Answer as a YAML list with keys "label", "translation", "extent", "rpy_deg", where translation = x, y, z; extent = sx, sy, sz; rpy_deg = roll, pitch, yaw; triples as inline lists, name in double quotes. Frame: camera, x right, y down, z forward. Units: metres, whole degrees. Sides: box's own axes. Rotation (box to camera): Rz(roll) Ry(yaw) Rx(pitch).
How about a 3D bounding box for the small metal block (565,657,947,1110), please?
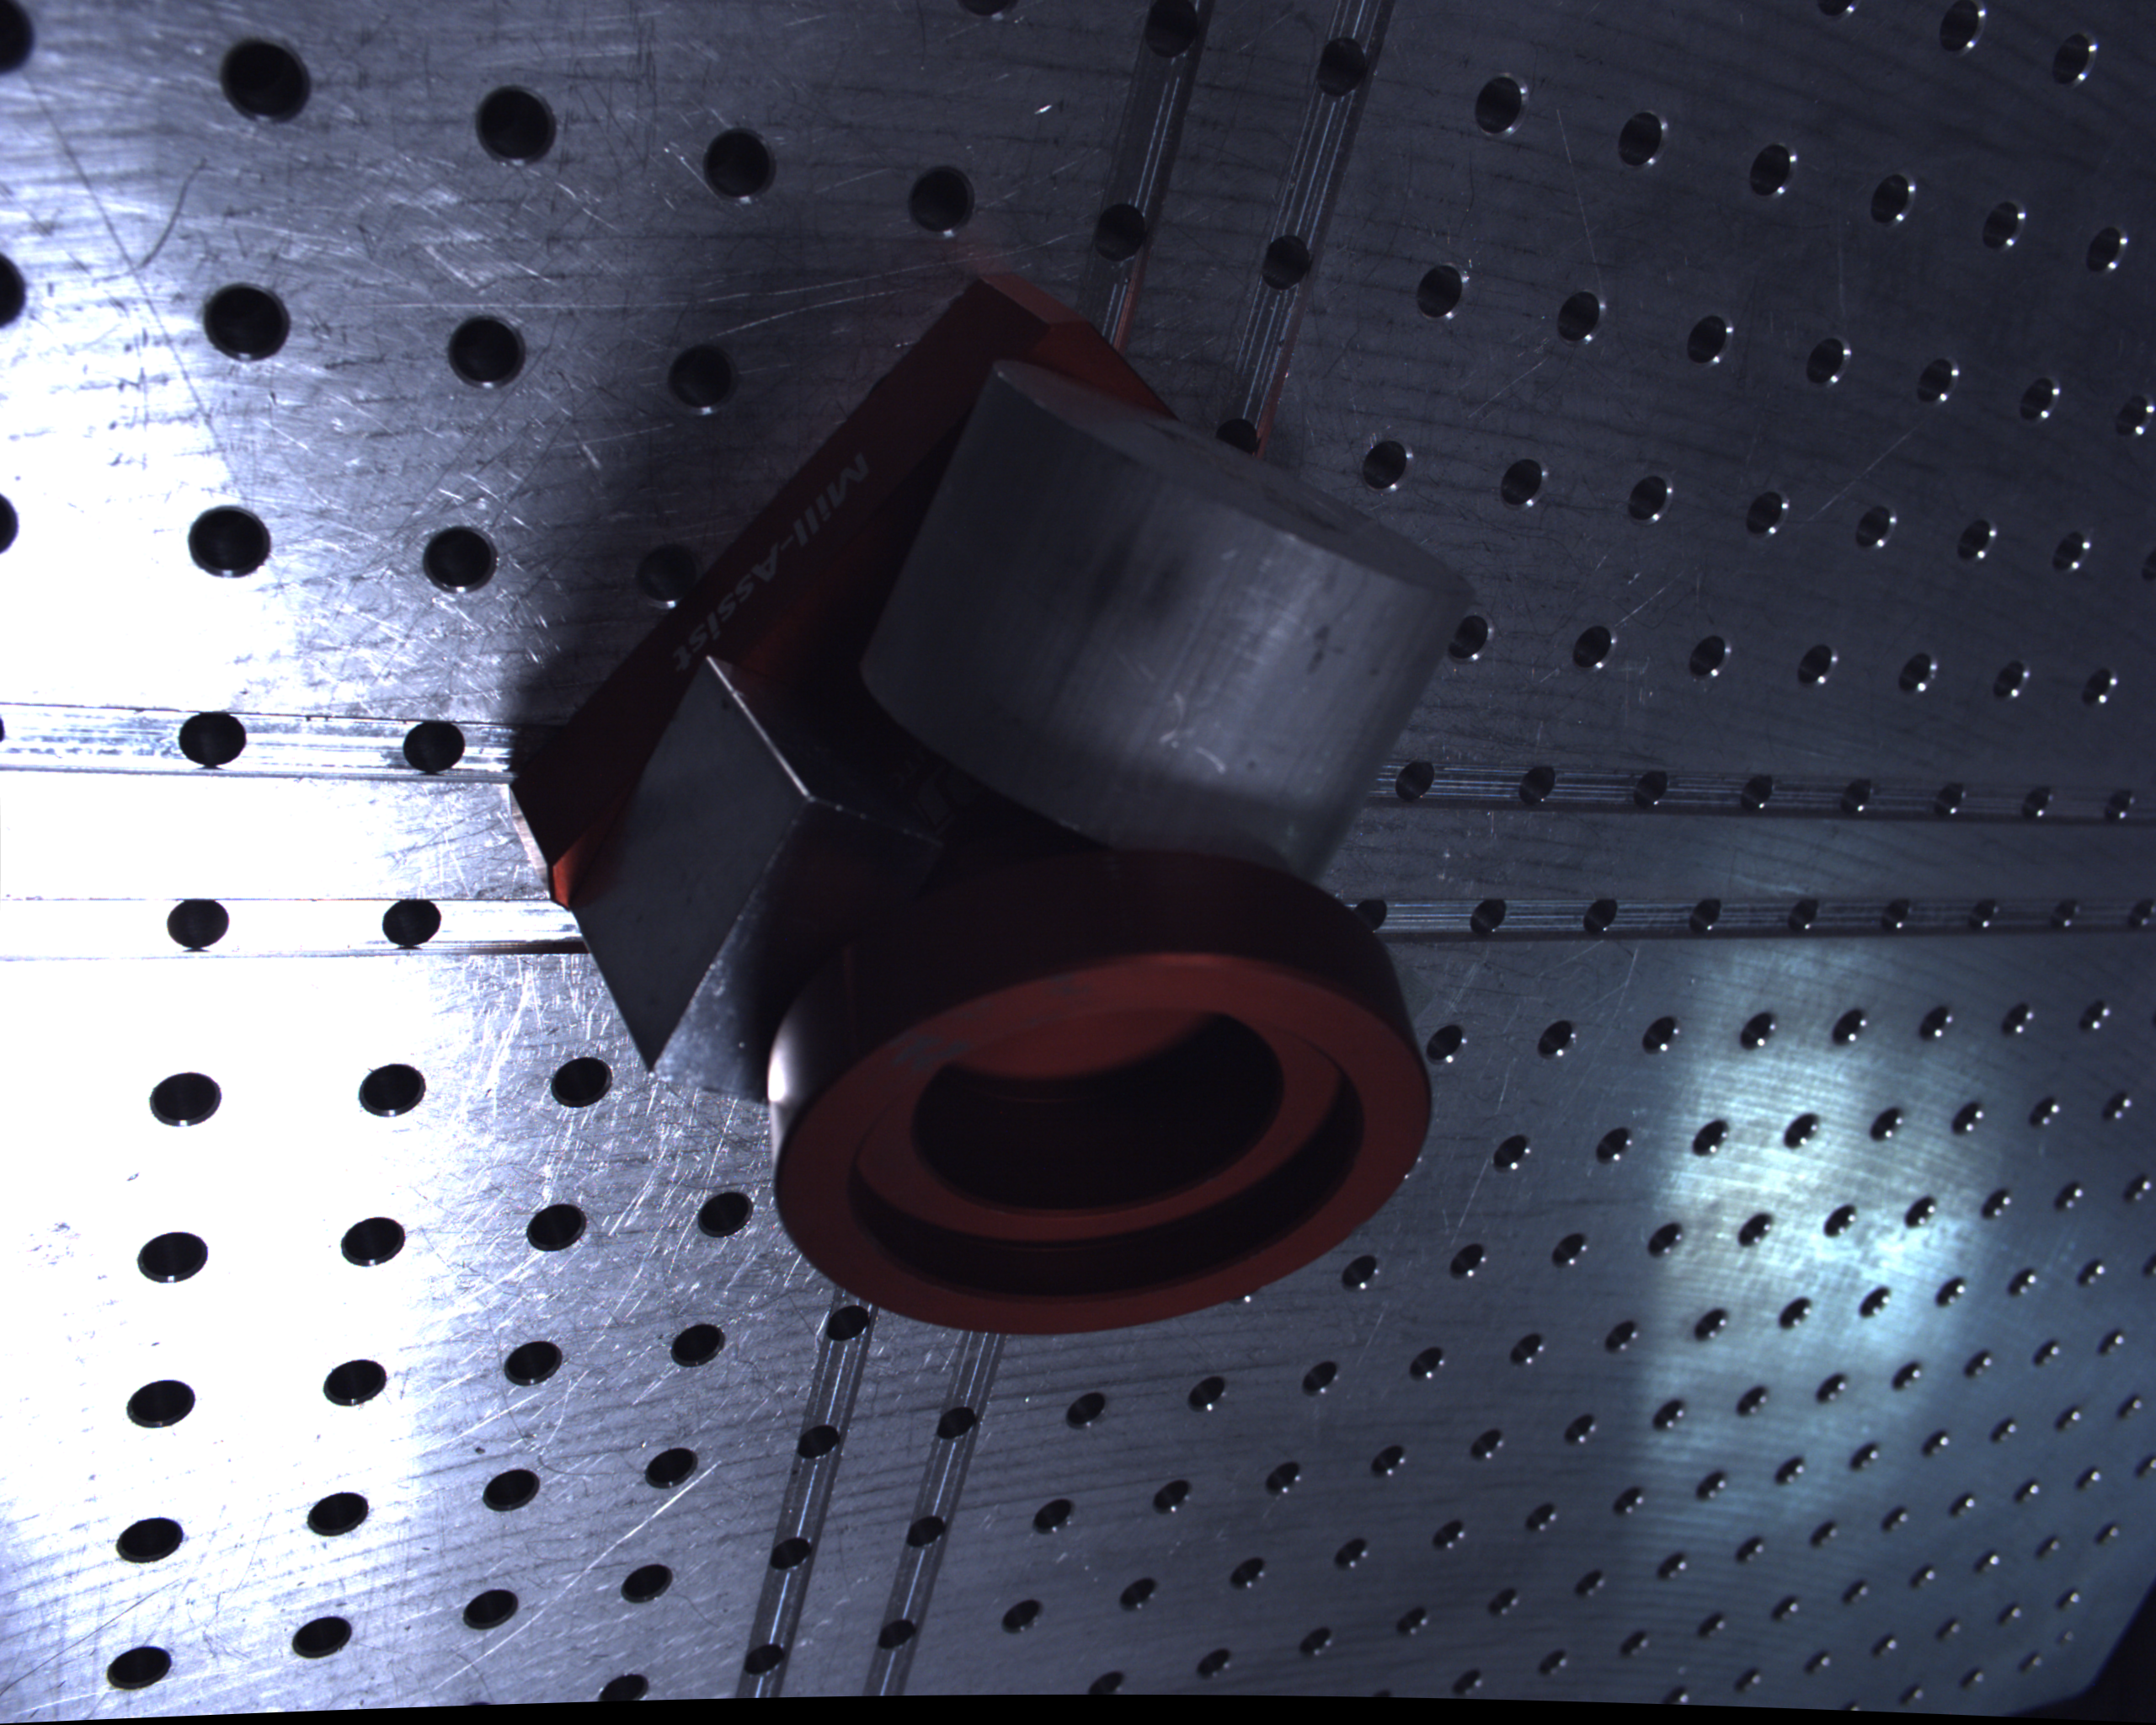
- label: "small metal block"
  translation: [-0.052, 0.003, 0.329]
  extent: [0.025, 0.050, 0.050]
  rpy_deg: [21, 107, -36]

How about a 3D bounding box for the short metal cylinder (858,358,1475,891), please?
- label: "short metal cylinder"
  translation: [0.013, -0.037, 0.322]
  extent: [0.081, 0.080, 0.050]
  rpy_deg: [14, 111, -34]

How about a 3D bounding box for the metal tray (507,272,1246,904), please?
- label: "metal tray"
  translation: [-0.026, -0.029, 0.378]
  extent: [0.130, 0.030, 0.090]
  rpy_deg: [-47, 130, 4]

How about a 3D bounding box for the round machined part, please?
- label: "round machined part"
  translation: [0.001, 0.030, 0.324]
  extent: [0.099, 0.042, 0.097]
  rpy_deg: [-6, 138, -5]

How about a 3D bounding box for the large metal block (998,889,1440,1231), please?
- label: "large metal block"
  translation: [0.019, 0.033, 0.404]
  extent: [0.080, 0.050, 0.080]
  rpy_deg: [-47, 160, 4]
